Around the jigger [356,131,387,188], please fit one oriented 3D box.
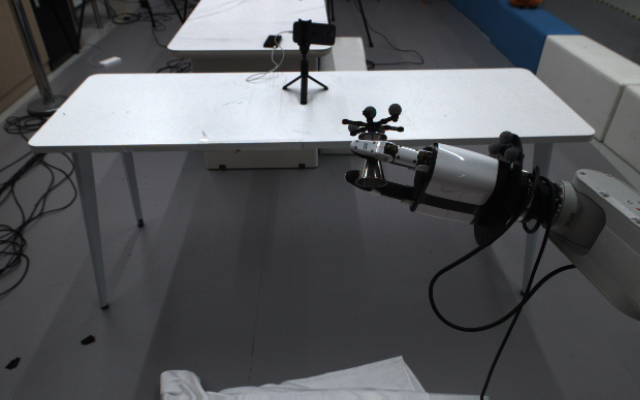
[{"bbox_3d":[0.071,-0.057,0.670,0.043,0.043,0.071,3,75,1],"label":"jigger"}]
